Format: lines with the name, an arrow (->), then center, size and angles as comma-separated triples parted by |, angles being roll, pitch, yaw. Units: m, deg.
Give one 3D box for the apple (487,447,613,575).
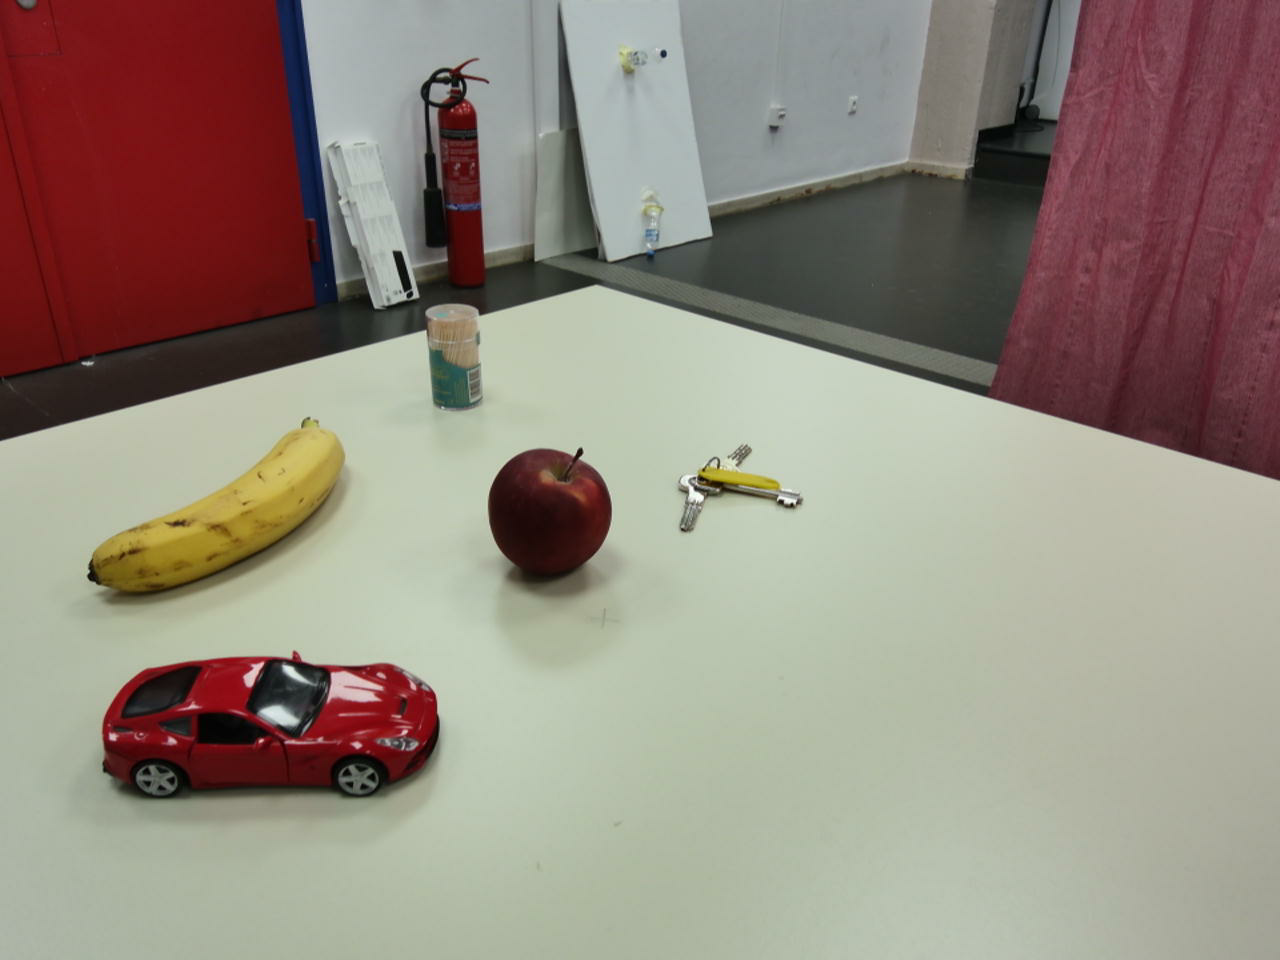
apple -> -0.051, 0.017, 0.565 | 0.070, 0.072, 0.070 | 1, 25, 0
